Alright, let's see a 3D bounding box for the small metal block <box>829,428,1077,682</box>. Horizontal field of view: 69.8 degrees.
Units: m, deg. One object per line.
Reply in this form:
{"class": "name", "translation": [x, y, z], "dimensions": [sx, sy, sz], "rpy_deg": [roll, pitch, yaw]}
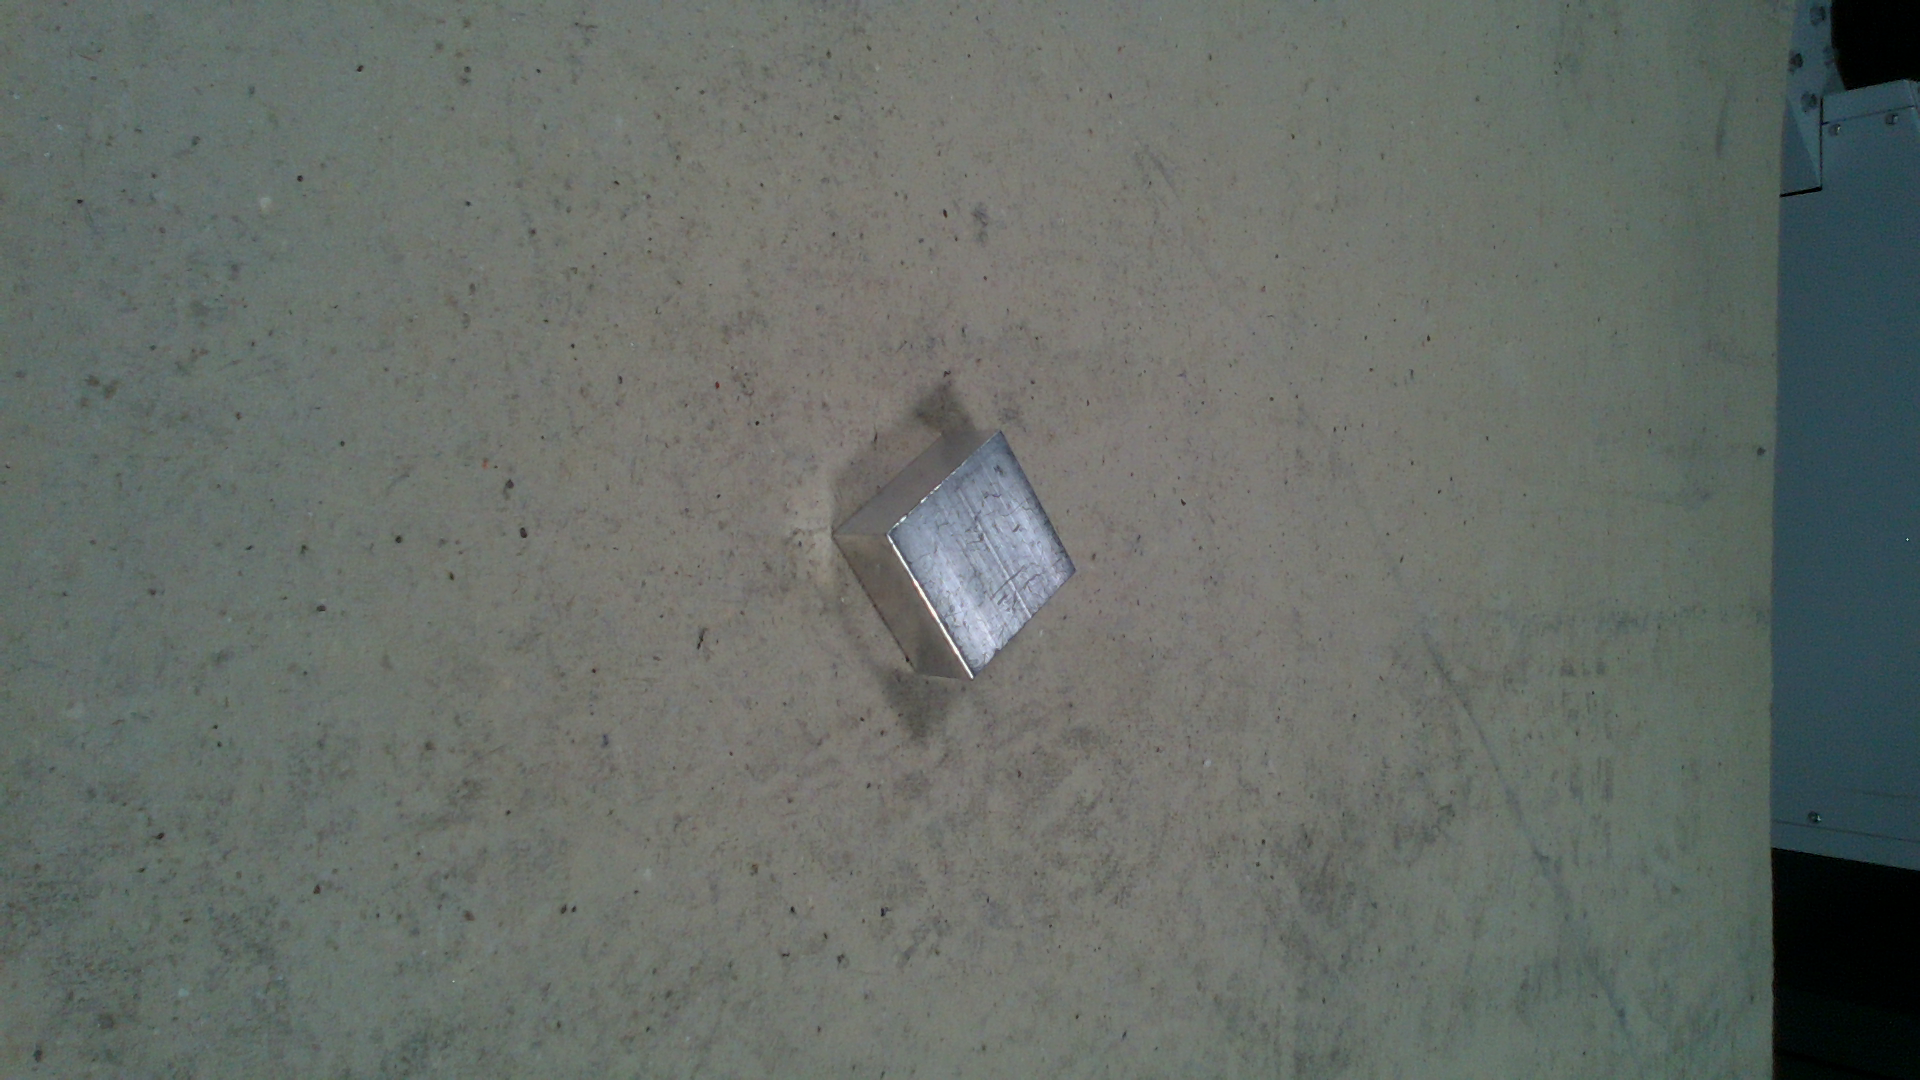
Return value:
{"class": "small metal block", "translation": [-0.001, 0.004, 0.389], "dimensions": [0.050, 0.025, 0.050], "rpy_deg": [-44, 116, -31]}
